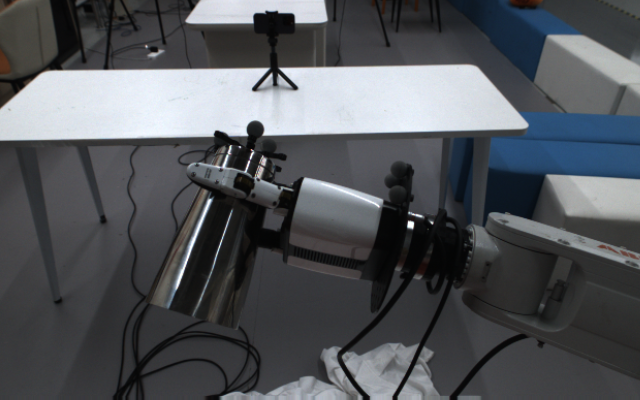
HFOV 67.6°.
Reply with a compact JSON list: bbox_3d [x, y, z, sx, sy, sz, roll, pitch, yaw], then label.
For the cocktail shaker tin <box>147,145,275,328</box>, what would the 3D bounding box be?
[{"bbox_3d":[-0.100,0.036,0.492,0.093,0.093,0.170,12,72,14],"label":"cocktail shaker tin"}]
